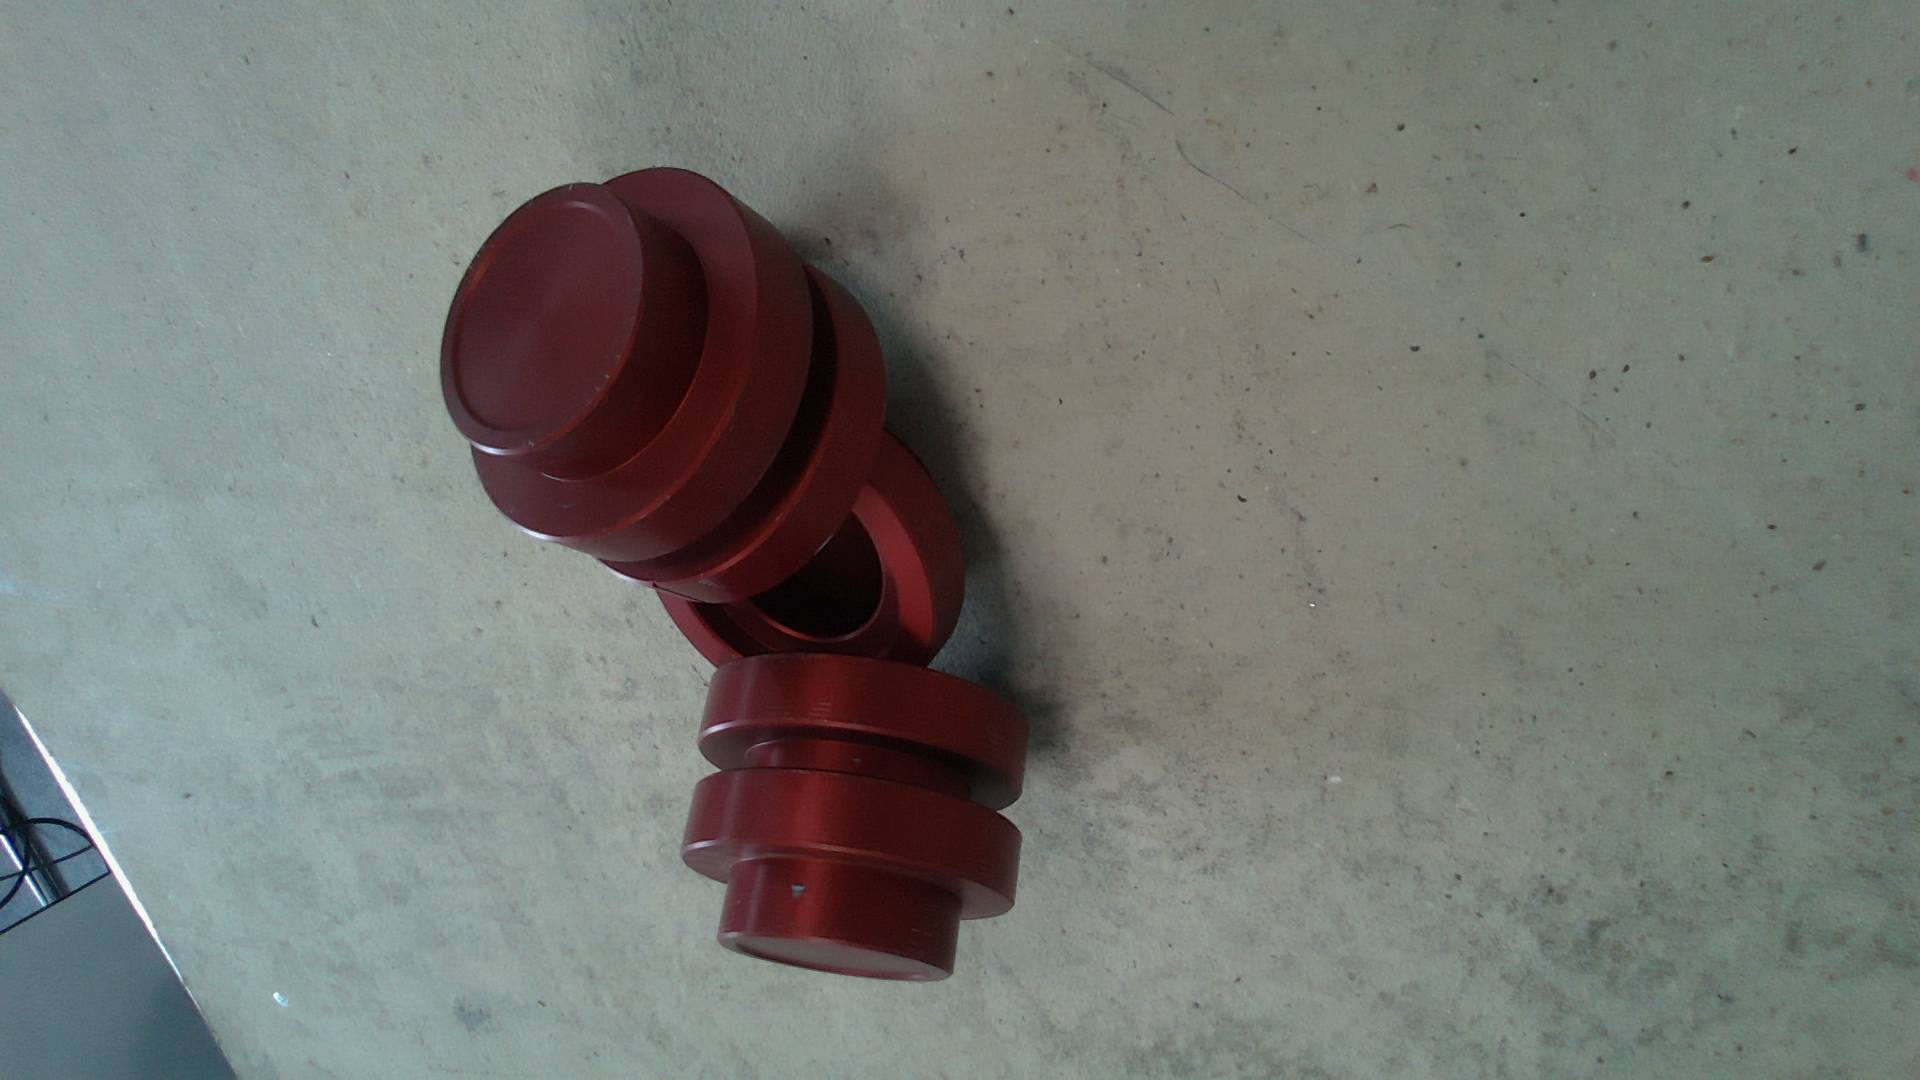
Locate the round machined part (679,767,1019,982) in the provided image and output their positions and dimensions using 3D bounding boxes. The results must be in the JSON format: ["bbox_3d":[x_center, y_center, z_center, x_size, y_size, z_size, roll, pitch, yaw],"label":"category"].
[{"bbox_3d":[-0.033,0.101,0.400,0.098,0.042,0.098,7,155,4],"label":"round machined part"}]

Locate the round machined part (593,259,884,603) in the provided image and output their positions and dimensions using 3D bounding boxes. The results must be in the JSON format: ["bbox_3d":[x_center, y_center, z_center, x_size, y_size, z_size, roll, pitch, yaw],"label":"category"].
[{"bbox_3d":[-0.072,-0.035,0.363,0.098,0.042,0.098,-10,71,30],"label":"round machined part"}]

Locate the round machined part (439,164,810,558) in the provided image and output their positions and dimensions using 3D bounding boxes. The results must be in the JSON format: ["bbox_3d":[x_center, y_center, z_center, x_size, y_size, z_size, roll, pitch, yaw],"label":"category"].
[{"bbox_3d":[-0.088,-0.048,0.338,0.098,0.042,0.098,-10,71,30],"label":"round machined part"}]

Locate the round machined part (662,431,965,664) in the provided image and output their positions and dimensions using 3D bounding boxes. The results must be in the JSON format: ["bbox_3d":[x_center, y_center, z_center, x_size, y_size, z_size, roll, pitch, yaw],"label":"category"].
[{"bbox_3d":[-0.043,-0.001,0.406,0.098,0.042,0.098,13,124,21],"label":"round machined part"}]

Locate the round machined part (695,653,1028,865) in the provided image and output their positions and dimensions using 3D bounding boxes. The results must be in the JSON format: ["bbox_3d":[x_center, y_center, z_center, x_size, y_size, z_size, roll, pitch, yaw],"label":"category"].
[{"bbox_3d":[-0.031,0.070,0.410,0.098,0.042,0.098,7,156,3],"label":"round machined part"}]
